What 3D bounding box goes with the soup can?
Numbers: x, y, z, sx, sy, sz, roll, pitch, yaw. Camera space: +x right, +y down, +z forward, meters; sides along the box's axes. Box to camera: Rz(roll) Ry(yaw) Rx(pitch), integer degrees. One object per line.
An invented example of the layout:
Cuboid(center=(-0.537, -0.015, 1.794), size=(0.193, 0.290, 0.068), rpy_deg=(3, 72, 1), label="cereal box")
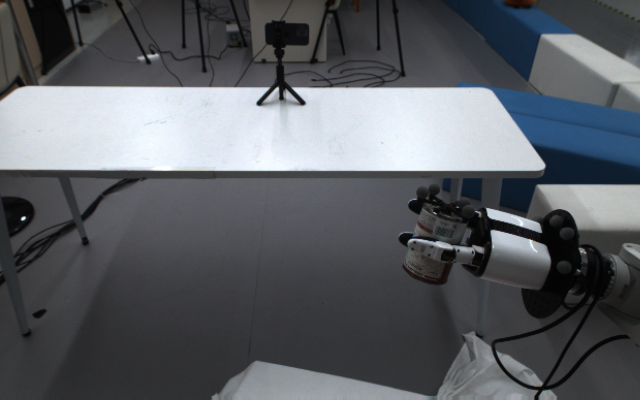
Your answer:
Cuboid(center=(0.167, 0.060, 0.694), size=(0.067, 0.101, 0.067), rpy_deg=(13, 18, -4), label="soup can")
